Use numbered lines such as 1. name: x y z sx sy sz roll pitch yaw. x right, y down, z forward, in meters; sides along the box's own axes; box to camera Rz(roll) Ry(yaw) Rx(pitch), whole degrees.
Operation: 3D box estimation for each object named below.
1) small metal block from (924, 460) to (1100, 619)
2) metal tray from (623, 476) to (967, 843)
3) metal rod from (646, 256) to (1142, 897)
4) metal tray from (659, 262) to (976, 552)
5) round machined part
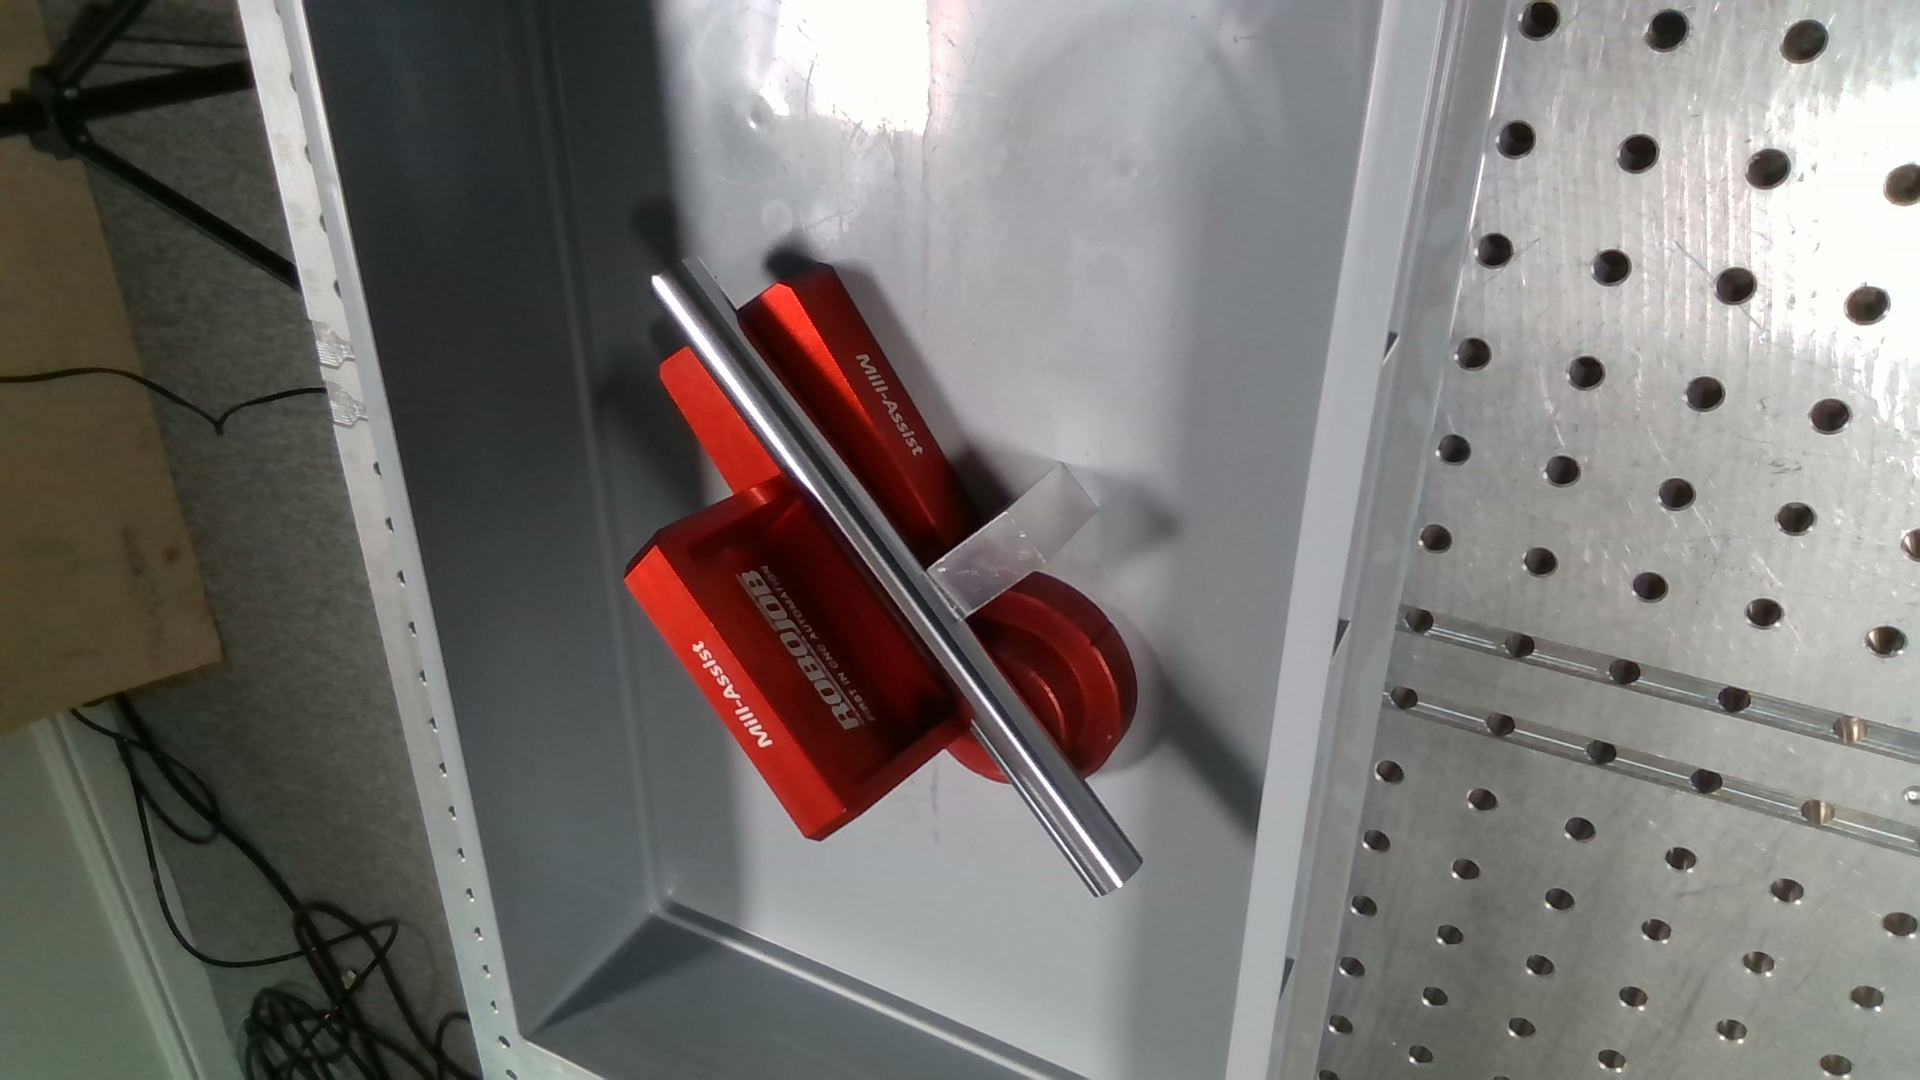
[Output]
1. small metal block: 0.021 0.000 0.549 0.050 0.050 0.025 -36 93 39
2. metal tray: -0.060 0.042 0.548 0.130 0.090 0.030 54 132 4
3. metal rod: -0.027 0.014 0.552 0.025 0.025 0.300 -37 89 39
4. metal tray: -0.061 -0.040 0.591 0.090 0.030 0.130 -24 101 38
5. round machined part: 0.022 0.065 0.589 0.098 0.042 0.098 14 122 25
